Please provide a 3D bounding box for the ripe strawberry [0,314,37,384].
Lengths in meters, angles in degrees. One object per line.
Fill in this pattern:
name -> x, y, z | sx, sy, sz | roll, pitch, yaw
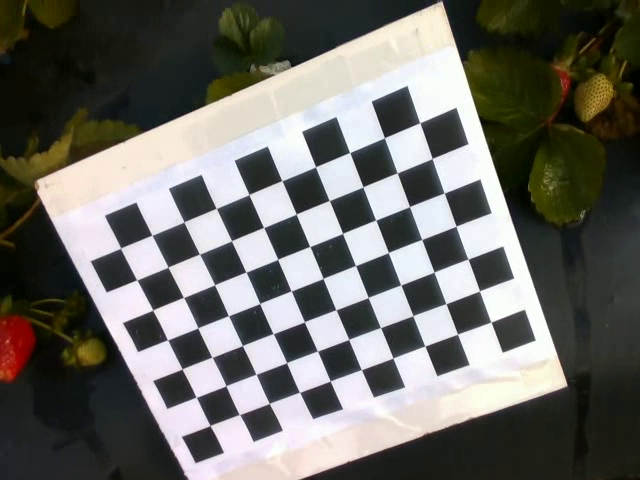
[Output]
ripe strawberry -> -0.236, 0.083, 0.435 | 0.052, 0.043, 0.057 | 31, 20, -36
